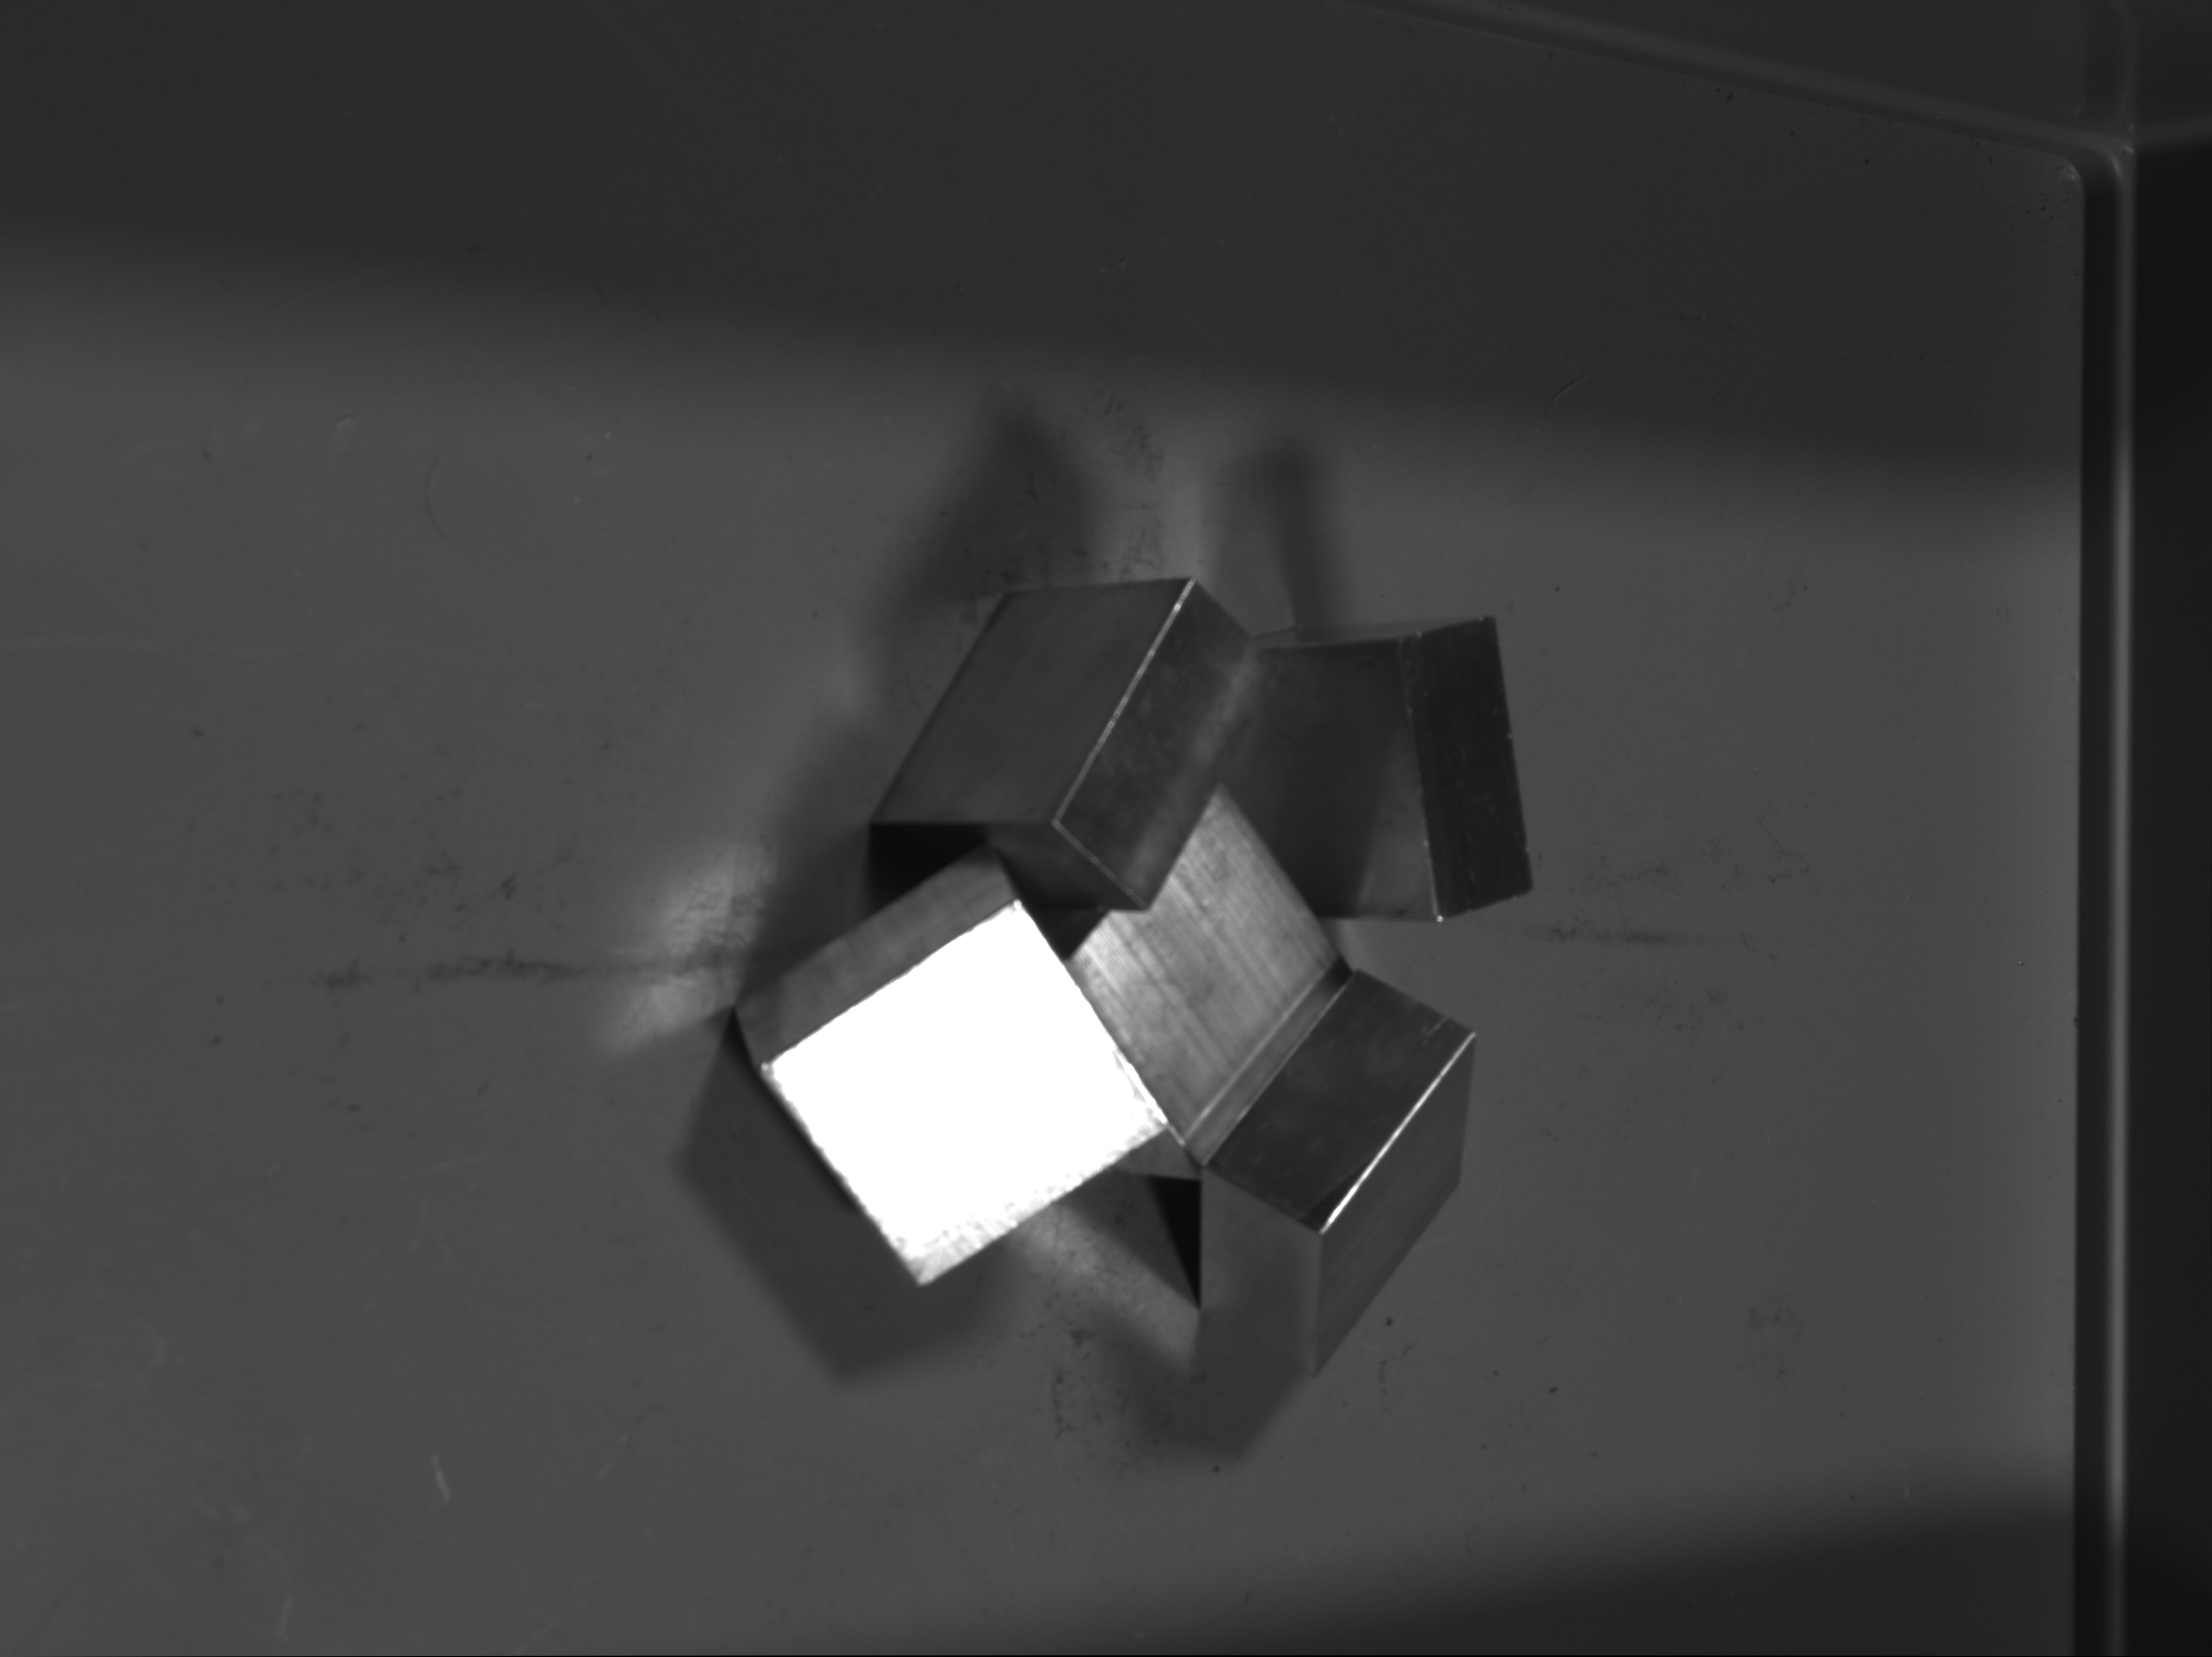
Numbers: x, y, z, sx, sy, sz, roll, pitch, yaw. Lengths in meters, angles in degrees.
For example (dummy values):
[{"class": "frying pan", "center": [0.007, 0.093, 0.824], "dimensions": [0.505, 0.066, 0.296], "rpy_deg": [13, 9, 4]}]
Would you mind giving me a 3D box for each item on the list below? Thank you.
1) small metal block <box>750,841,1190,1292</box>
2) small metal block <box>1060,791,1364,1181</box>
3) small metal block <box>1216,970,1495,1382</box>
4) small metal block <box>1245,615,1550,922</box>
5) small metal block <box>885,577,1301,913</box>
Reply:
[{"class": "small metal block", "center": [-0.022, 0.039, 0.602], "dimensions": [0.050, 0.025, 0.050], "rpy_deg": [-33, 115, 1]}, {"class": "small metal block", "center": [0.013, 0.026, 0.646], "dimensions": [0.050, 0.025, 0.050], "rpy_deg": [-50, 119, -28]}, {"class": "small metal block", "center": [0.044, 0.062, 0.656], "dimensions": [0.050, 0.025, 0.050], "rpy_deg": [-49, 155, -29]}, {"class": "small metal block", "center": [0.050, -0.011, 0.660], "dimensions": [0.025, 0.050, 0.050], "rpy_deg": [-15, 99, -40]}, {"class": "small metal block", "center": [-0.002, -0.014, 0.617], "dimensions": [0.025, 0.050, 0.050], "rpy_deg": [44, 64, -31]}]
